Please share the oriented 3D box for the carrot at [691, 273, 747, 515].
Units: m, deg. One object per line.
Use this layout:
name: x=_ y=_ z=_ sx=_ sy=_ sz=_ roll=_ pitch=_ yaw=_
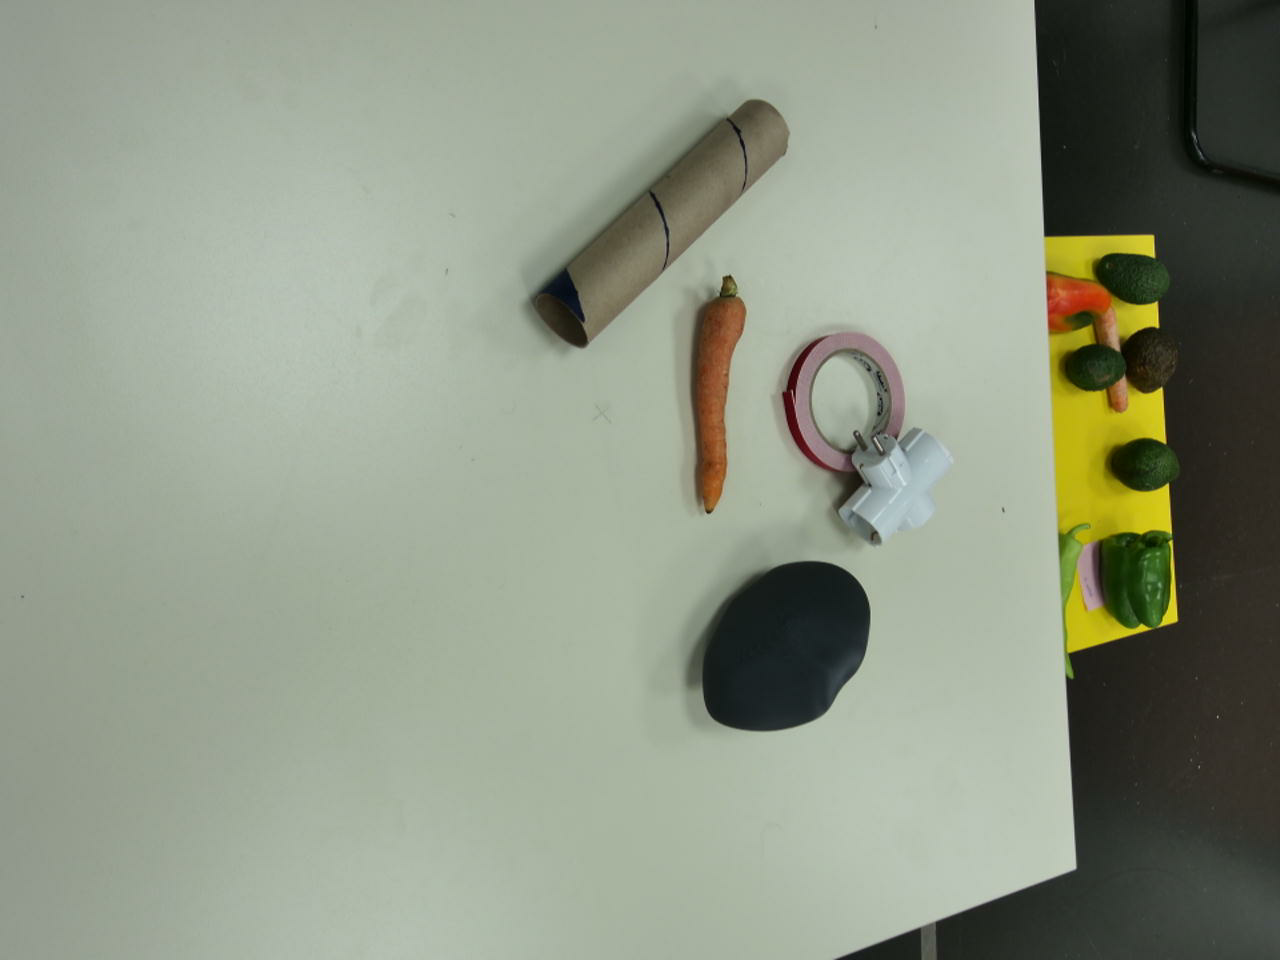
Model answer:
carrot: x=0.056 y=-0.060 z=0.716 sx=0.030 sy=0.032 sz=0.173 roll=6 pitch=88 yaw=-28
